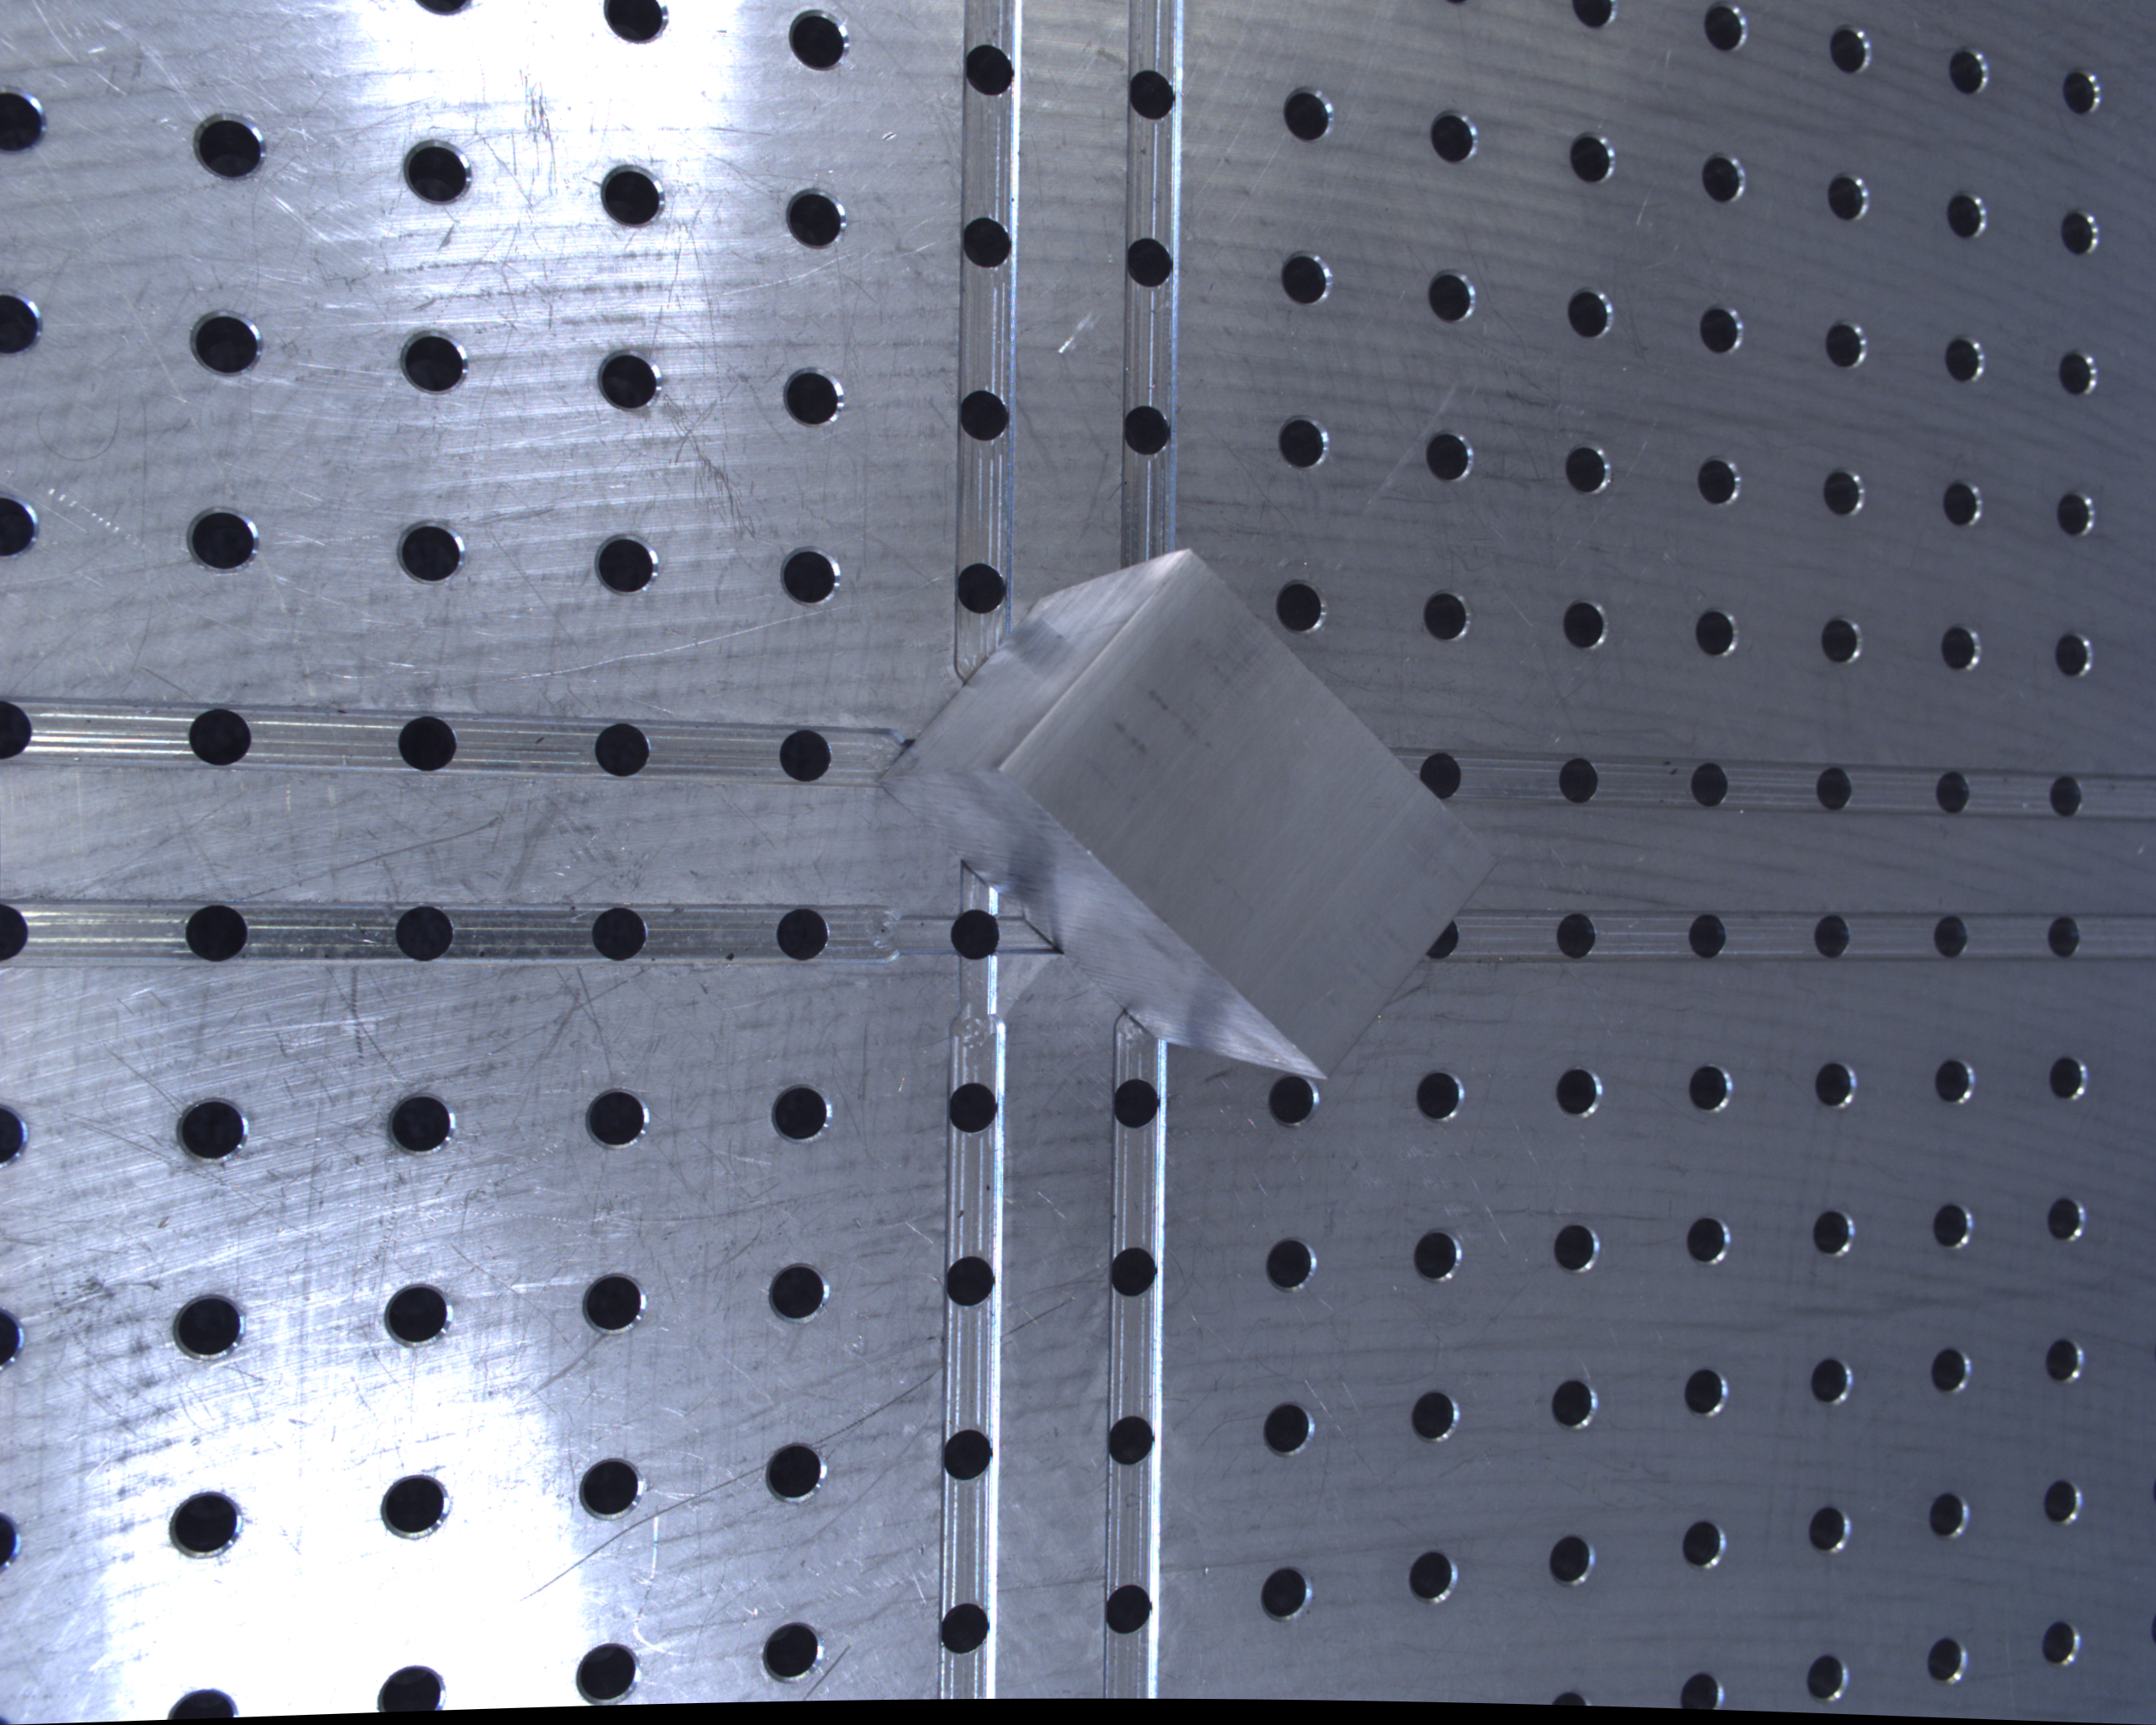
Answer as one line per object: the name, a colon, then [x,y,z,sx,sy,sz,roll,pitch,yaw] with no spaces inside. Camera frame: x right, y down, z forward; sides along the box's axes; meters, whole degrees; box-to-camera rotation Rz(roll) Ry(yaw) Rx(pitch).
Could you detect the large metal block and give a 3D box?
large metal block: [0.017,-0.008,0.389,0.080,0.080,0.050,43,77,-15]
